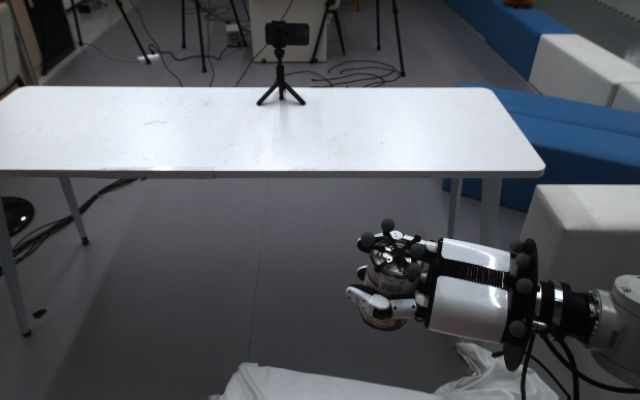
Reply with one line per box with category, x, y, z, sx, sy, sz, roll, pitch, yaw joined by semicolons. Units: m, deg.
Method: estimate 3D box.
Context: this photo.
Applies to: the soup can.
soup can;0.091;0.108;0.618;0.067;0.101;0.067;5;37;-3
